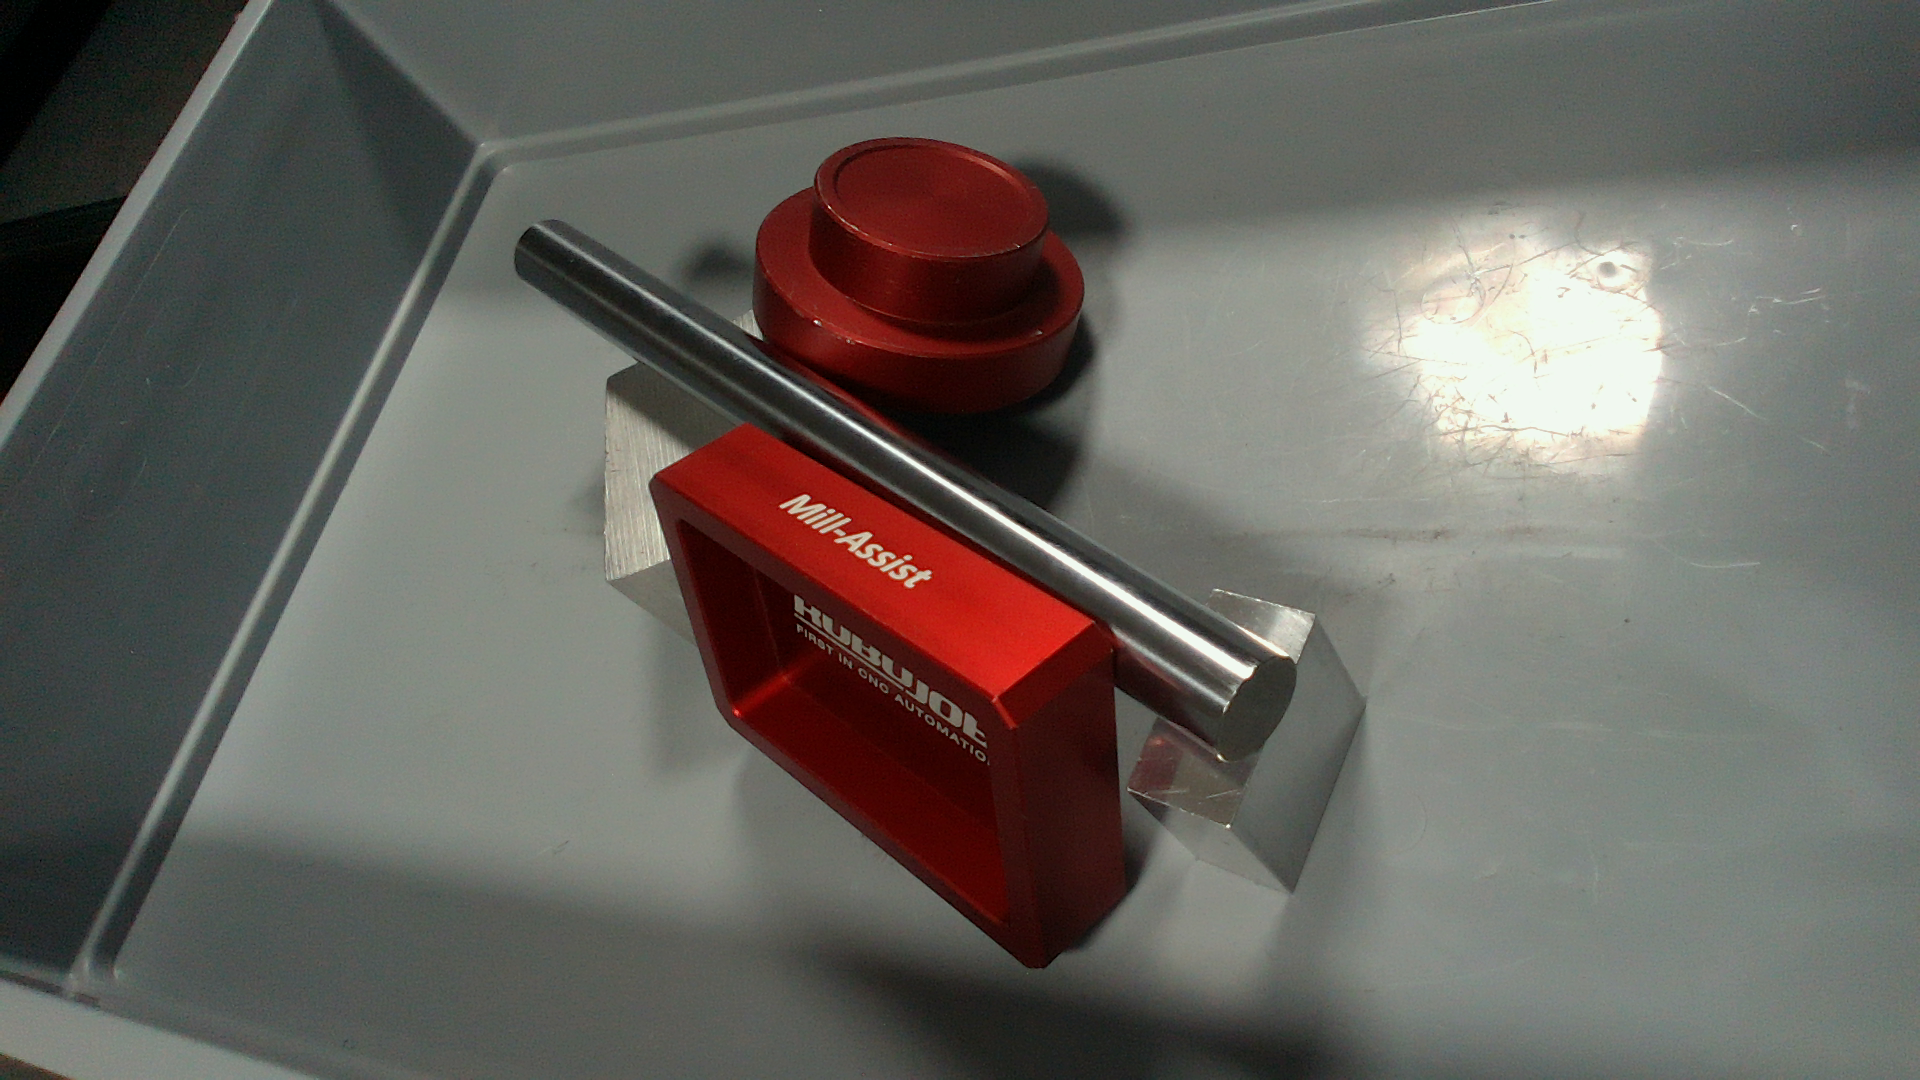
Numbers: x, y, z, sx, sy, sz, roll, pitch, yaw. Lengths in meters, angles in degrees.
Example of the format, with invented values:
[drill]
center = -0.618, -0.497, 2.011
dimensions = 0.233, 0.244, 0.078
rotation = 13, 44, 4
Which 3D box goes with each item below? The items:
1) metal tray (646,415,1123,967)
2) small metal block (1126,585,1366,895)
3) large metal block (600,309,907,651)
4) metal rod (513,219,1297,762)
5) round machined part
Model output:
[metal tray]
center = -0.020, 0.034, 0.336
dimensions = 0.030, 0.090, 0.130
rotation = -34, 45, -30
[small metal block]
center = 0.067, 0.046, 0.312
dimensions = 0.025, 0.050, 0.050
rotation = 15, 70, 35
[large metal block]
center = -0.061, -0.022, 0.422
dimensions = 0.080, 0.050, 0.080
rotation = -21, 54, 16
[metal rod]
center = -0.039, -0.031, 0.366
dimensions = 0.299, 0.025, 0.025
rotation = 33, 80, 38
[round machined part]
center = -0.011, -0.084, 0.406
dimensions = 0.098, 0.042, 0.098
rotation = 8, 41, -7
